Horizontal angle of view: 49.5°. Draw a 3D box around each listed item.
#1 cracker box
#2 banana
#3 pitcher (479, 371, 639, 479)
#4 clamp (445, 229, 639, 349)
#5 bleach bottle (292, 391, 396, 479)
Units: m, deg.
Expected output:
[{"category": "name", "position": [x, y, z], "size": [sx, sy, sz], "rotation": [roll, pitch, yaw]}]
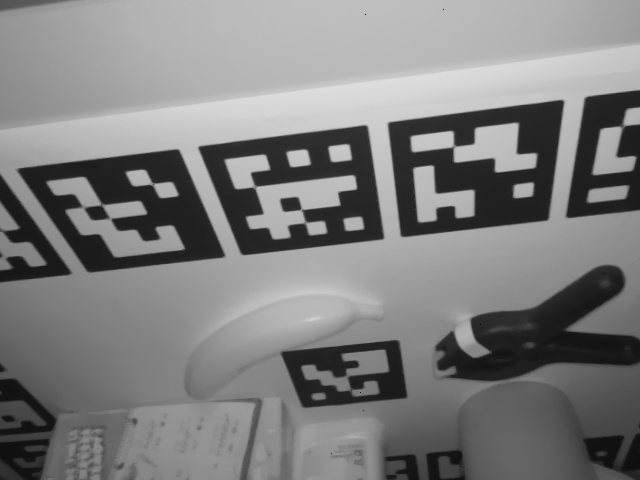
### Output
[{"category": "cracker box", "position": [-0.138, 0.201, 0.585], "size": [0.214, 0.165, 0.071], "rotation": [-4, 139, 1]}, {"category": "banana", "position": [-0.042, 0.047, 0.551], "size": [0.194, 0.039, 0.075], "rotation": [-31, 129, 27]}, {"category": "pitcher", "position": [0.206, 0.231, 0.556], "size": [0.187, 0.245, 0.133], "rotation": [-16, 134, 20]}, {"category": "clamp", "position": [0.179, 0.052, 0.550], "size": [0.164, 0.037, 0.122], "rotation": [-16, 136, 17]}, {"category": "bleach bottle", "position": [0.024, 0.260, 0.609], "size": [0.102, 0.253, 0.067], "rotation": [-5, 137, 4]}]
